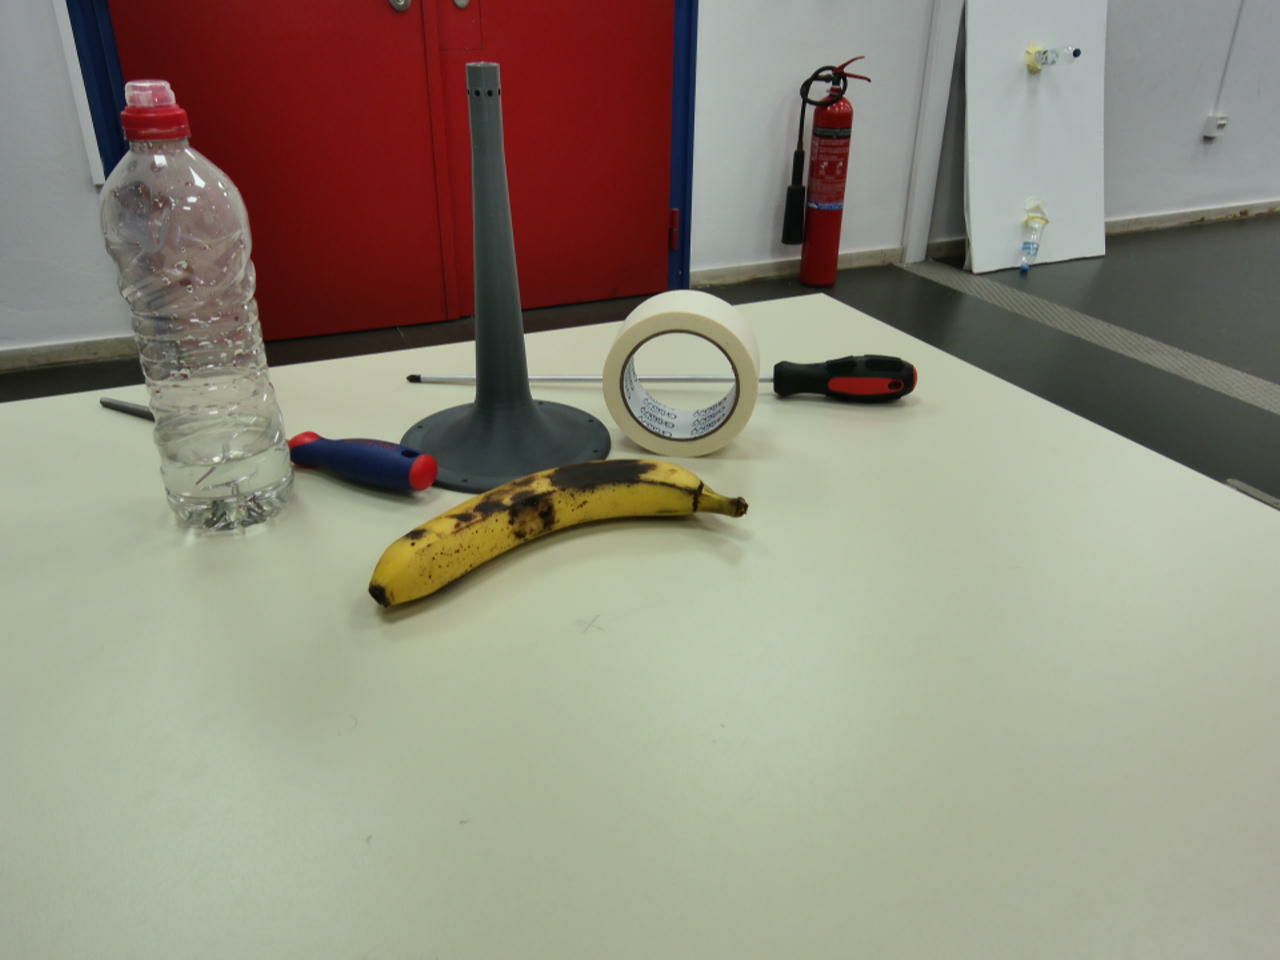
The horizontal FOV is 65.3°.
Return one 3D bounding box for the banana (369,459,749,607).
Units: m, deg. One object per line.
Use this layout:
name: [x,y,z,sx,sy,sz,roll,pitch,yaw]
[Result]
banana: [-0.052,0.022,0.580,0.222,0.037,0.084,-11,28,-22]
